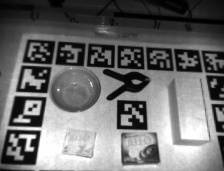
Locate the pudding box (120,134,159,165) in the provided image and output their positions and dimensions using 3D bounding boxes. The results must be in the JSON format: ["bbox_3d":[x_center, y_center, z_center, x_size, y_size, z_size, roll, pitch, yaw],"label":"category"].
[{"bbox_3d":[0.082,0.196,0.664,0.114,0.039,0.090,1,70,-2],"label":"pudding box"}]

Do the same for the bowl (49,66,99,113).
[{"bbox_3d":[-0.125,0.019,0.718,0.162,0.055,0.161,2,69,-5],"label":"bowl"}]

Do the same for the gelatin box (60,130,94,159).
[{"bbox_3d":[-0.104,0.178,0.656,0.089,0.030,0.073,10,68,-1],"label":"gelatin box"}]

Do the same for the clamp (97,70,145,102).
[{"bbox_3d":[0.036,-0.008,0.757,0.166,0.036,0.121,-7,67,-10],"label":"clamp"}]

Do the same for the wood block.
[{"bbox_3d":[0.245,0.085,0.698,0.090,0.091,0.205,5,66,-3],"label":"wood block"}]
